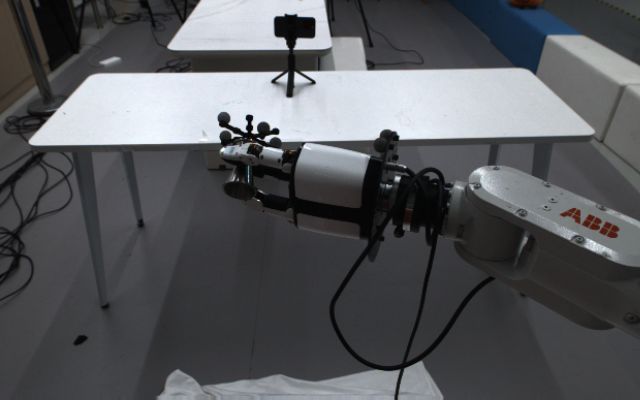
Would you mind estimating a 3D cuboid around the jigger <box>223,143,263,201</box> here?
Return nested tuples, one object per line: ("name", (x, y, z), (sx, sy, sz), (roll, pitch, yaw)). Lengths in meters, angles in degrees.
("jigger", (-0.099, -0.043, 0.623), (0.043, 0.043, 0.071), (4, 60, 2))
